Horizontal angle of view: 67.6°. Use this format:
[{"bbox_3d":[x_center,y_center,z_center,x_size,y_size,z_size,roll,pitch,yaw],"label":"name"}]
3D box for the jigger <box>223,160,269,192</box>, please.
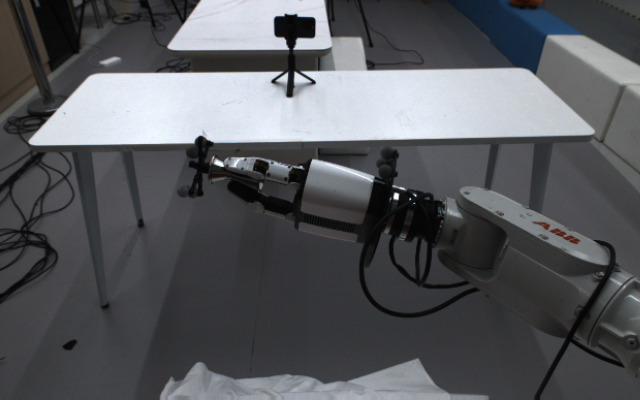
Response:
[{"bbox_3d":[-0.103,-0.037,0.645,0.071,0.043,0.043,10,35,1],"label":"jigger"}]
